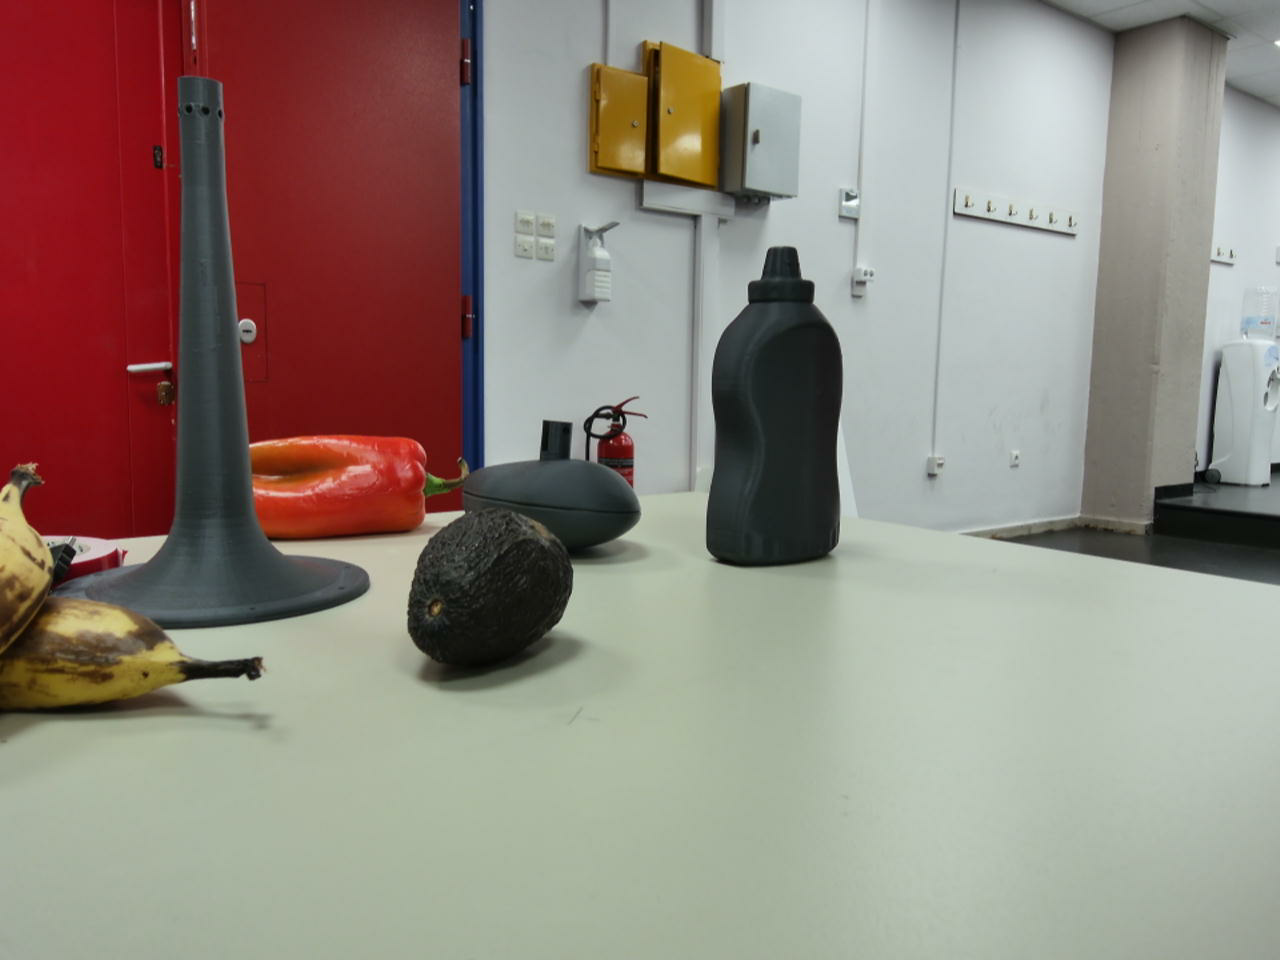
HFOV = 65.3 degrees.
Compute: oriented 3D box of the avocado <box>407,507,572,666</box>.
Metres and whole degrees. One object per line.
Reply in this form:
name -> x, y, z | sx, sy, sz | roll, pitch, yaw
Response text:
avocado -> -0.065, 0.043, 0.414 | 0.062, 0.062, 0.092 | 2, 5, 28
